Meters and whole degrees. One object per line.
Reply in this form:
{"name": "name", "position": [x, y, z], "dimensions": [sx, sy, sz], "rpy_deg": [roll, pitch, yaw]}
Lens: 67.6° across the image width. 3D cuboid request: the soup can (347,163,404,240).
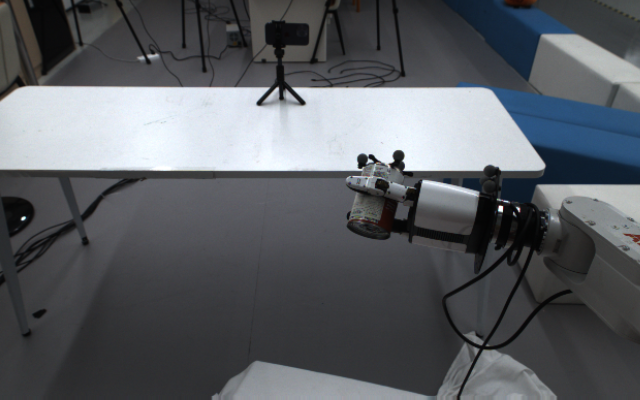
{"name": "soup can", "position": [0.087, 0.001, 0.741], "dimensions": [0.067, 0.067, 0.101], "rpy_deg": [12, 70, 14]}
